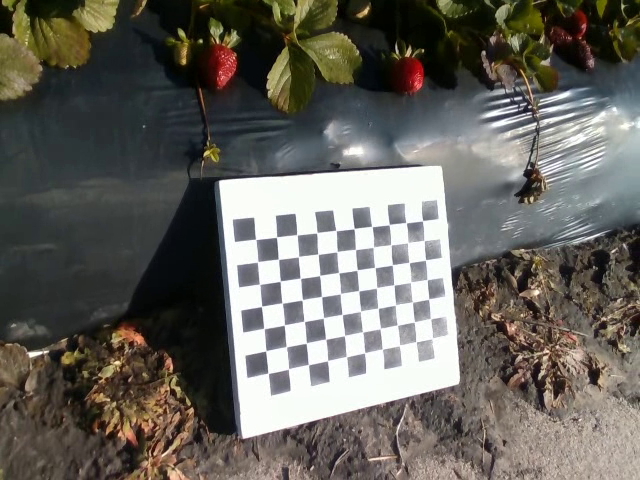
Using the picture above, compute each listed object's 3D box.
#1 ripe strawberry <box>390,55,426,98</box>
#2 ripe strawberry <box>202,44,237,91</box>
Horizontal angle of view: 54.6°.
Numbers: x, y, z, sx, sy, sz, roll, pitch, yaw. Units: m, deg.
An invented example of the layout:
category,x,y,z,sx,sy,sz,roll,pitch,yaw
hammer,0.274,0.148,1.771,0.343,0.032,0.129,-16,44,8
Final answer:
category,x,y,z,sx,sy,sz,roll,pitch,yaw
ripe strawberry,0.093,-0.169,0.640,0.042,0.043,0.050,32,29,-25
ripe strawberry,-0.097,-0.160,0.559,0.041,0.053,0.043,6,-46,-29
